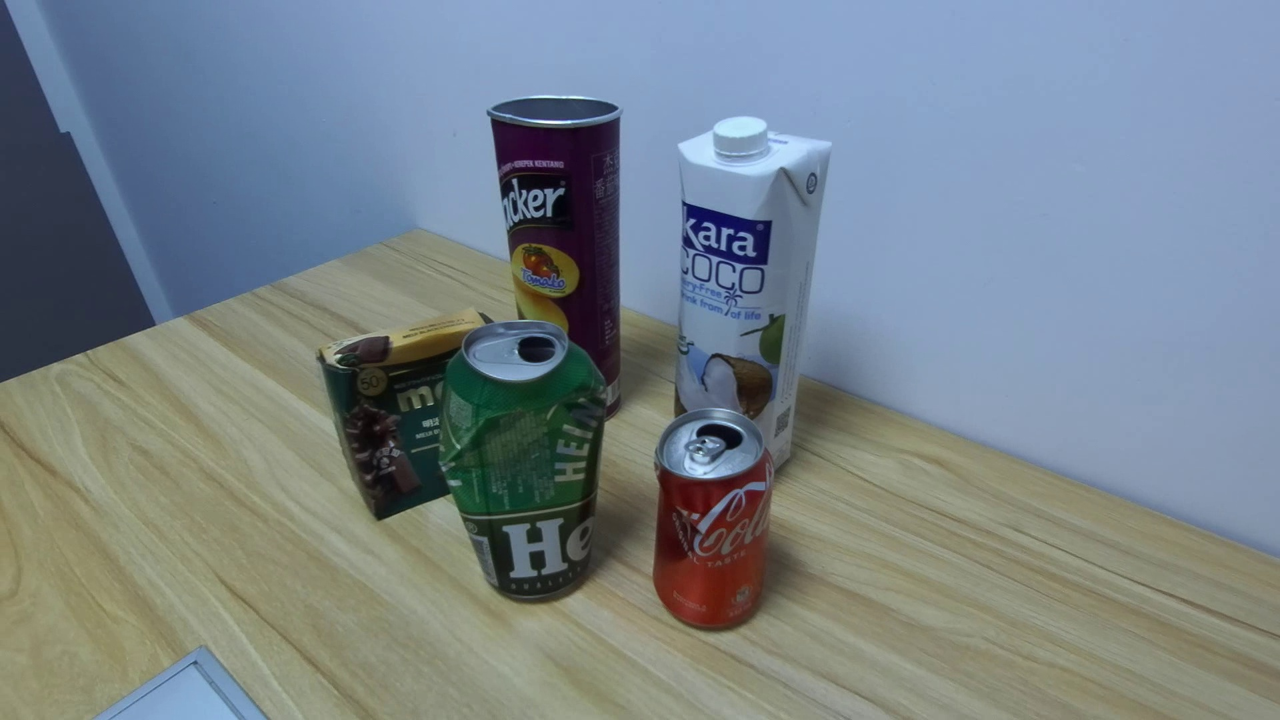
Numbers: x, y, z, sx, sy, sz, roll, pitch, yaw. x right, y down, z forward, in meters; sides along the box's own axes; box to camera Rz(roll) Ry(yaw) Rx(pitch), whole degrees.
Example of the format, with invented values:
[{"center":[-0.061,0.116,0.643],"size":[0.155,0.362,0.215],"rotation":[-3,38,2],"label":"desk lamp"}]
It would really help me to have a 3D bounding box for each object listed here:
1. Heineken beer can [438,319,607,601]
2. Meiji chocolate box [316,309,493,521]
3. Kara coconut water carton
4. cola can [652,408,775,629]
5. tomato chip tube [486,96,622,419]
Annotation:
[{"center":[-0.066,0.060,0.397],"size":[0.077,0.164,0.066],"rotation":[16,37,22],"label":"Heineken beer can"},{"center":[-0.151,0.035,0.488],"size":[0.113,0.111,0.058],"rotation":[-18,27,-26],"label":"Meiji chocolate box"},{"center":[0.065,-0.029,0.454],"size":[0.076,0.245,0.075],"rotation":[23,38,33],"label":"Kara coconut water carton"},{"center":[0.042,0.090,0.394],"size":[0.065,0.117,0.072],"rotation":[-4,32,-7],"label":"cola can"},{"center":[-0.053,-0.064,0.519],"size":[0.077,0.234,0.080],"rotation":[-21,37,-28],"label":"tomato chip tube"}]
